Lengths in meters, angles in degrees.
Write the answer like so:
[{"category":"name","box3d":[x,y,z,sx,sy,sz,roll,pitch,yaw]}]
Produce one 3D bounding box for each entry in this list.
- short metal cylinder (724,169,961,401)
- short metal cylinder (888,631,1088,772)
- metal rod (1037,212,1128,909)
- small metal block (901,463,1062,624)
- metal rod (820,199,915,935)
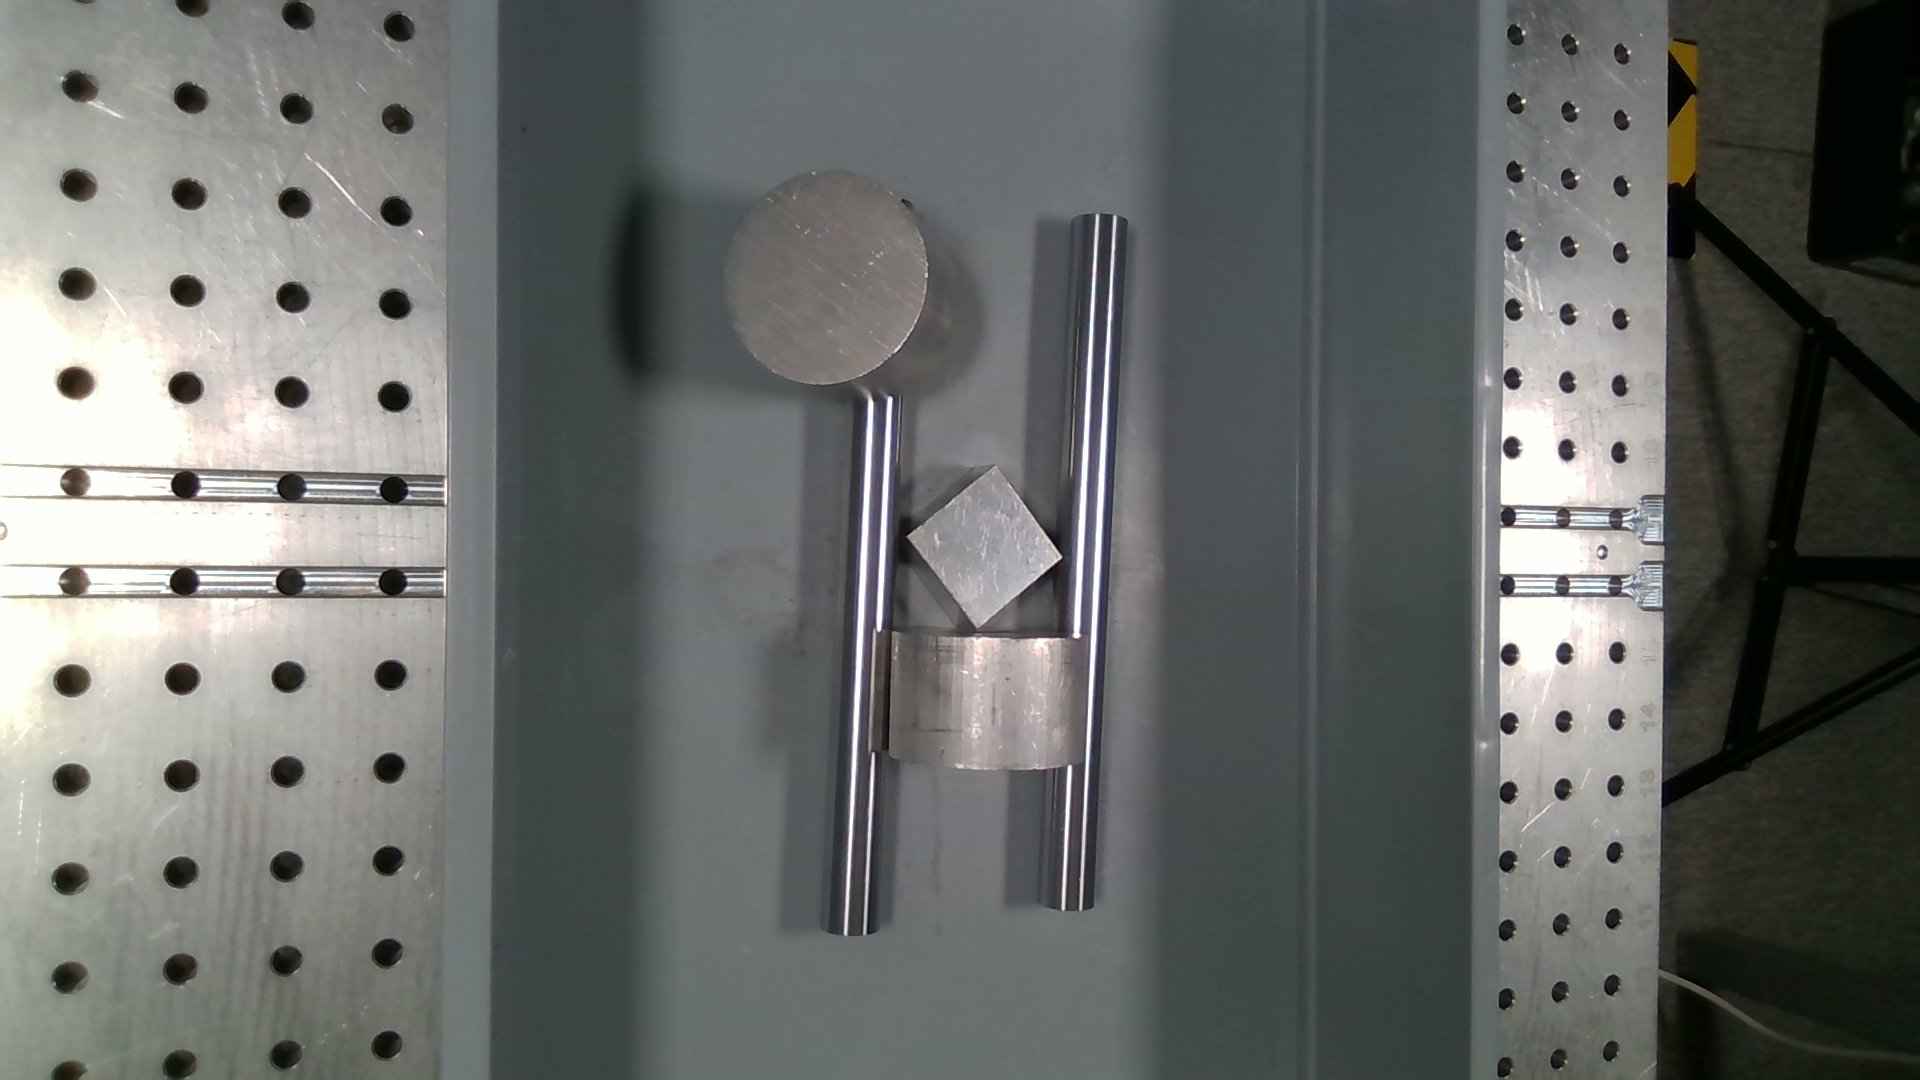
[{"category":"short metal cylinder","box3d":[-0.045,-0.097,0.536,0.080,0.050,0.080,0,88,14]},{"category":"short metal cylinder","box3d":[0.011,0.063,0.560,0.080,0.080,0.050,2,89,-20]},{"category":"metal rod","box3d":[0.054,0.009,0.604,0.025,0.025,0.300,3,89,-20]},{"category":"small metal block","box3d":[0.006,0.003,0.587,0.050,0.025,0.050,-40,103,-16]},{"category":"metal rod","box3d":[-0.038,0.010,0.570,0.025,0.025,0.300,3,89,-20]}]
